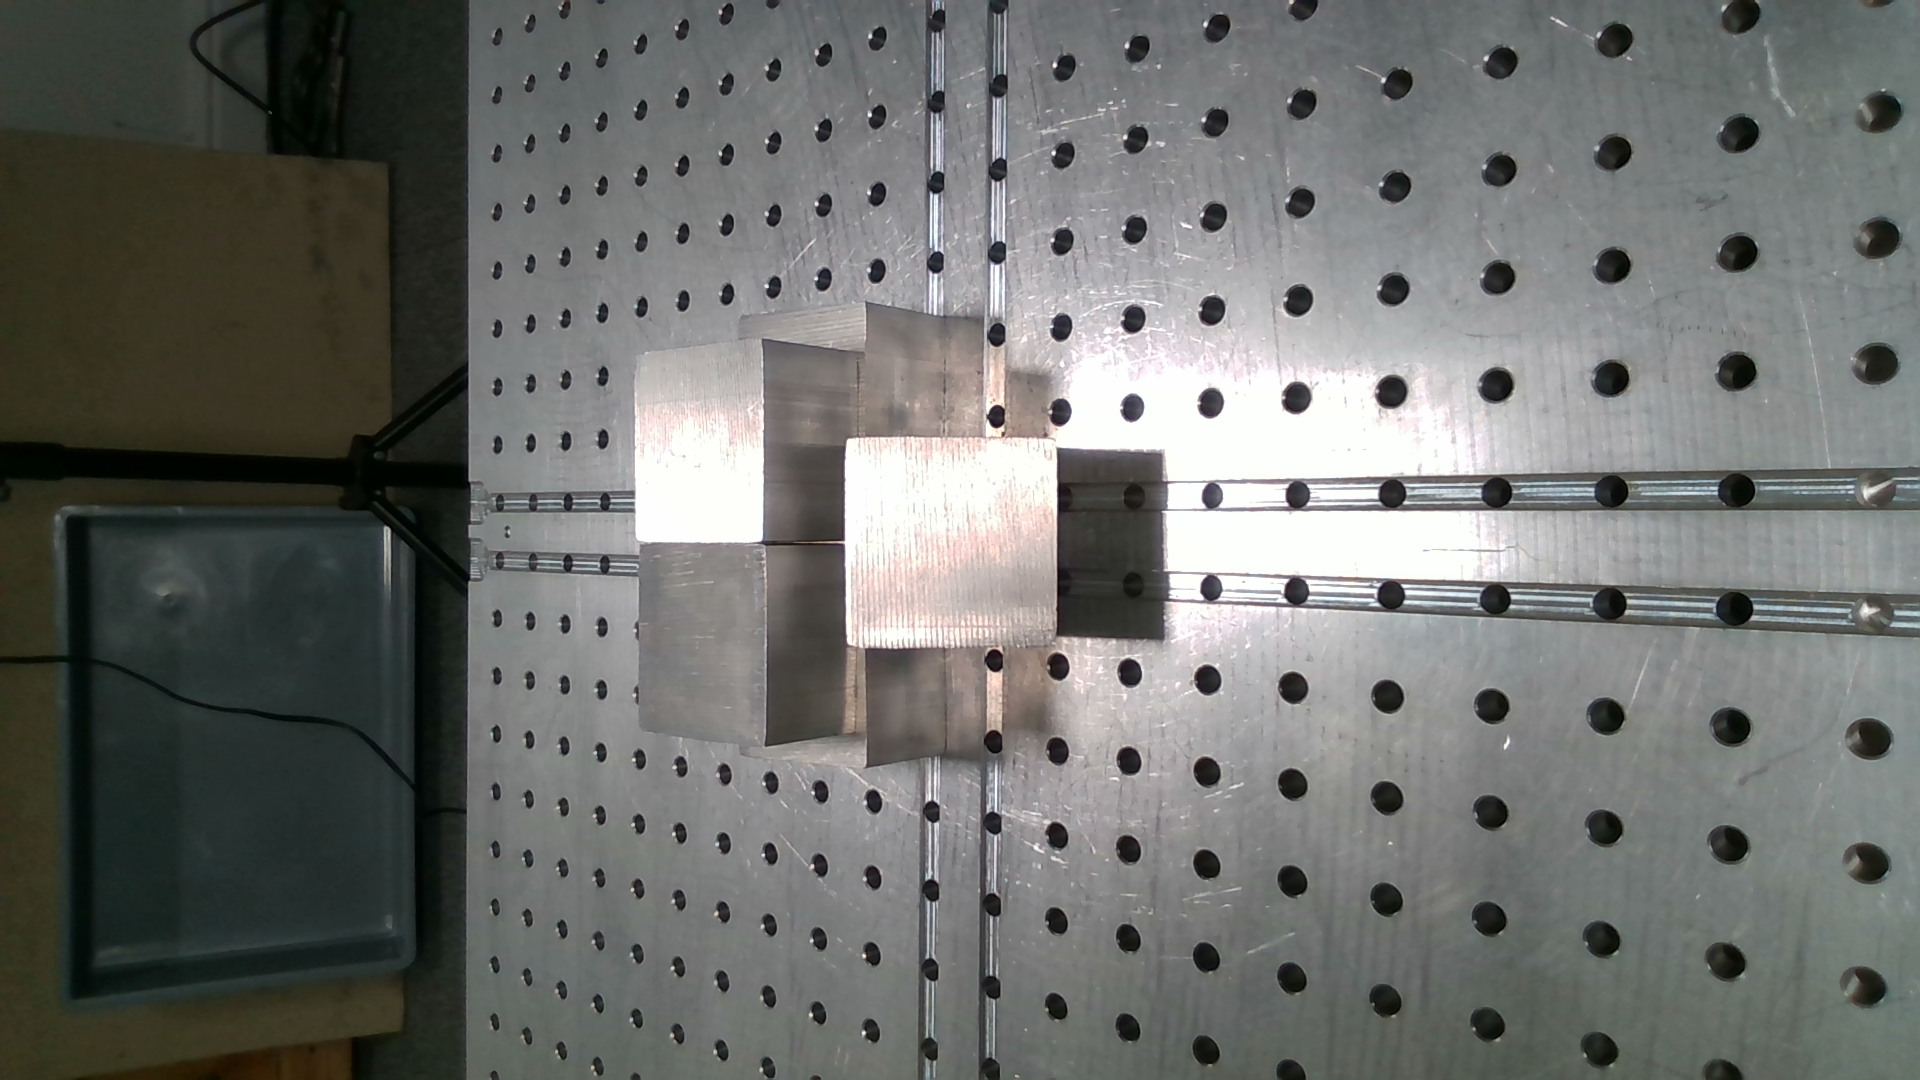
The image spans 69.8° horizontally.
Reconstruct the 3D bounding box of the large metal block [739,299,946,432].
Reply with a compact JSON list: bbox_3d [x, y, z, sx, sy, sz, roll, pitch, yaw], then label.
[{"bbox_3d":[-0.053,-0.060,0.614,0.080,0.050,0.080,2,92,40],"label":"large metal block"}]

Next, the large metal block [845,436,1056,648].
[{"bbox_3d":[-0.004,0.001,0.545,0.080,0.050,0.080,0,91,-2],"label":"large metal block"}]

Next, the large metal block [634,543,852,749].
[{"bbox_3d":[-0.092,0.041,0.579,0.080,0.050,0.080,0,90,40],"label":"large metal block"}]

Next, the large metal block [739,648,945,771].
[{"bbox_3d":[-0.054,0.056,0.614,0.080,0.050,0.080,-1,90,40],"label":"large metal block"}]

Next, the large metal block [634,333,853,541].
[{"bbox_3d":[-0.091,-0.040,0.576,0.080,0.050,0.080,0,90,40],"label":"large metal block"}]
